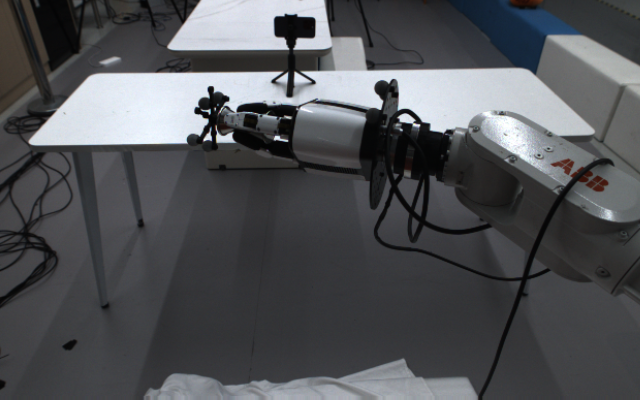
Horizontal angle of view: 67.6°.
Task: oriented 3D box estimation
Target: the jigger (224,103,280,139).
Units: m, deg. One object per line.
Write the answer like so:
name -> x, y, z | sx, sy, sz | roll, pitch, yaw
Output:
jigger -> -0.096, -0.105, 0.640 | 0.071, 0.043, 0.043 | 10, 35, 16
